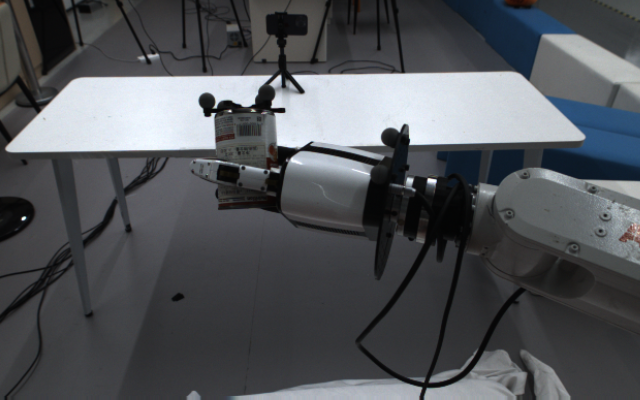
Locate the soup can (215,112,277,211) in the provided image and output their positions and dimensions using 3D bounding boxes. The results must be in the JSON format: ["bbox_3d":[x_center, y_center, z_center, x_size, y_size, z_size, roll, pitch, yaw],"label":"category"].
[{"bbox_3d":[-0.076,-0.040,0.521,0.067,0.101,0.067,-3,-1,0],"label":"soup can"}]
